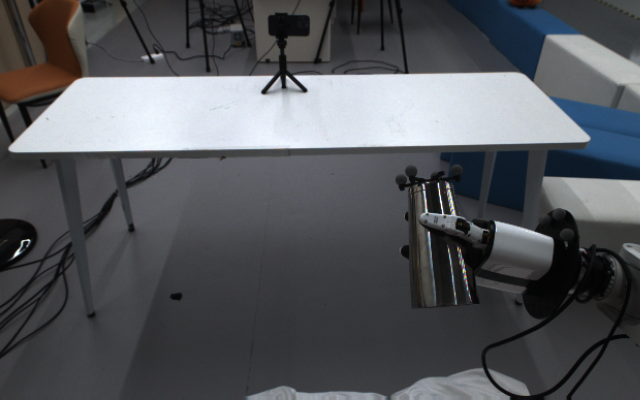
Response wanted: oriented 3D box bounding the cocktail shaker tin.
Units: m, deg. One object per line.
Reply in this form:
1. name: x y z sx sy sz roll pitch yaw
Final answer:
1. cocktail shaker tin: 0.167 0.063 0.684 0.093 0.093 0.170 -3 76 -8
